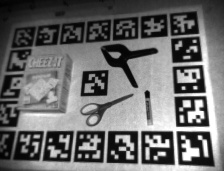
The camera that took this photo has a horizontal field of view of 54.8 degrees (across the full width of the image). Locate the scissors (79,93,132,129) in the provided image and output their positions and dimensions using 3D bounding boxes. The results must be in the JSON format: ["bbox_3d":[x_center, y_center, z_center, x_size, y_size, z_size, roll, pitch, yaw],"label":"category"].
[{"bbox_3d":[-0.019,0.074,0.754,0.203,0.016,0.087,-29,66,-2],"label":"scissors"}]

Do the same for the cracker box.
[{"bbox_3d":[-0.248,0.000,0.803,0.163,0.072,0.213,-1,70,12],"label":"cracker box"}]

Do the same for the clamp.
[{"bbox_3d":[0.038,-0.103,0.812,0.201,0.037,0.165,28,77,19],"label":"clamp"}]

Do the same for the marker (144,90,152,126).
[{"bbox_3d":[0.119,0.073,0.724,0.019,0.020,0.120,-6,69,11],"label":"marker"}]
